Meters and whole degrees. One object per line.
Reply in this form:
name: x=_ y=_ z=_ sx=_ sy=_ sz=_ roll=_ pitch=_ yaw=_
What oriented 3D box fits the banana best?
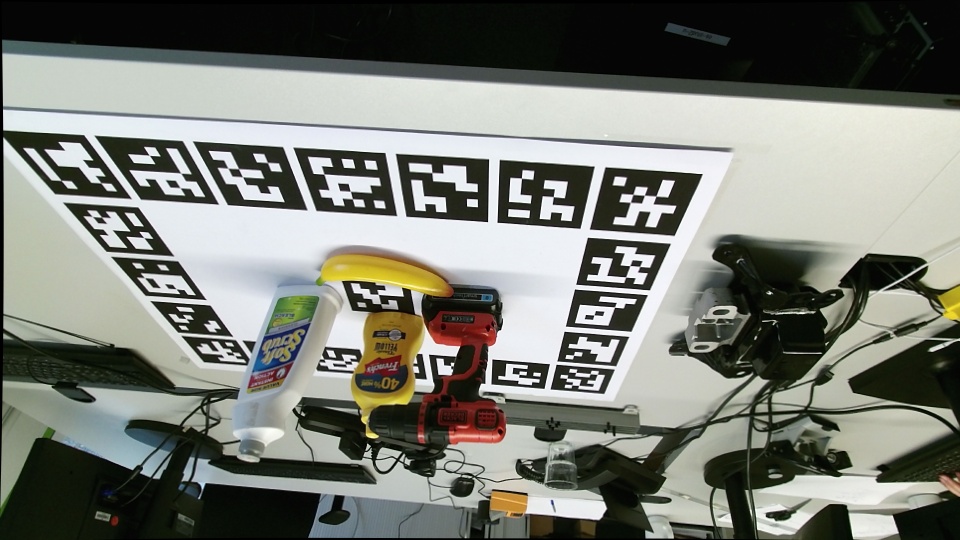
banana: x=-0.139 y=0.022 z=0.753 sx=0.198 sy=0.038 sz=0.074 roll=5 pitch=136 yaw=-1

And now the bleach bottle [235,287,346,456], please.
bleach bottle: x=-0.274 y=0.139 z=0.764 sx=0.103 sy=0.249 sz=0.068 roll=-1 pitch=138 yaw=10

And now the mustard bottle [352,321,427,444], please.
mustard bottle: x=-0.143 y=0.170 z=0.815 sx=0.096 sy=0.190 sz=0.058 roll=5 pitch=140 yaw=4

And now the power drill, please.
power drill: x=-0.042 y=0.153 z=0.751 sx=0.185 sy=0.186 sz=0.057 roll=4 pitch=147 yaw=7
